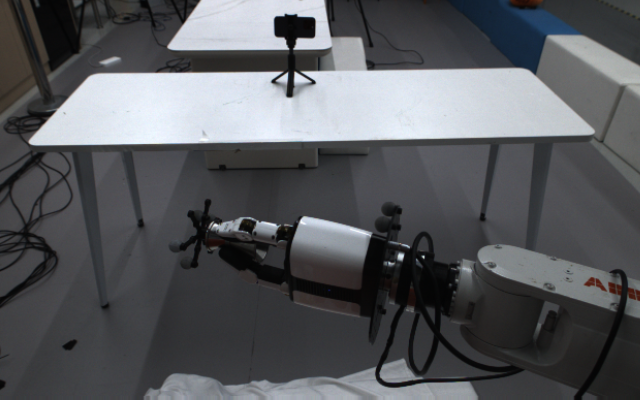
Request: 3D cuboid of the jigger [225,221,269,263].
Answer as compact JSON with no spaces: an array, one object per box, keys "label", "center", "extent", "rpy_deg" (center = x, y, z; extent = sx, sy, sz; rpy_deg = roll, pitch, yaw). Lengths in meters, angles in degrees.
[{"label":"jigger","center":[-0.095,0.046,0.596],"extent":[0.071,0.043,0.043],"rpy_deg":[10,35,16]}]
